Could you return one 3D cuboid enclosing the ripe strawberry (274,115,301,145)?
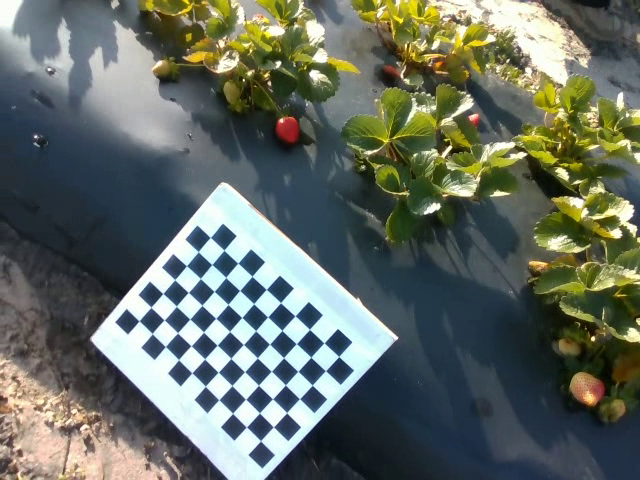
[{"bbox_3d":[-0.038,-0.133,0.775,0.030,0.045,0.033,-20,-36,13],"label":"ripe strawberry"}]
